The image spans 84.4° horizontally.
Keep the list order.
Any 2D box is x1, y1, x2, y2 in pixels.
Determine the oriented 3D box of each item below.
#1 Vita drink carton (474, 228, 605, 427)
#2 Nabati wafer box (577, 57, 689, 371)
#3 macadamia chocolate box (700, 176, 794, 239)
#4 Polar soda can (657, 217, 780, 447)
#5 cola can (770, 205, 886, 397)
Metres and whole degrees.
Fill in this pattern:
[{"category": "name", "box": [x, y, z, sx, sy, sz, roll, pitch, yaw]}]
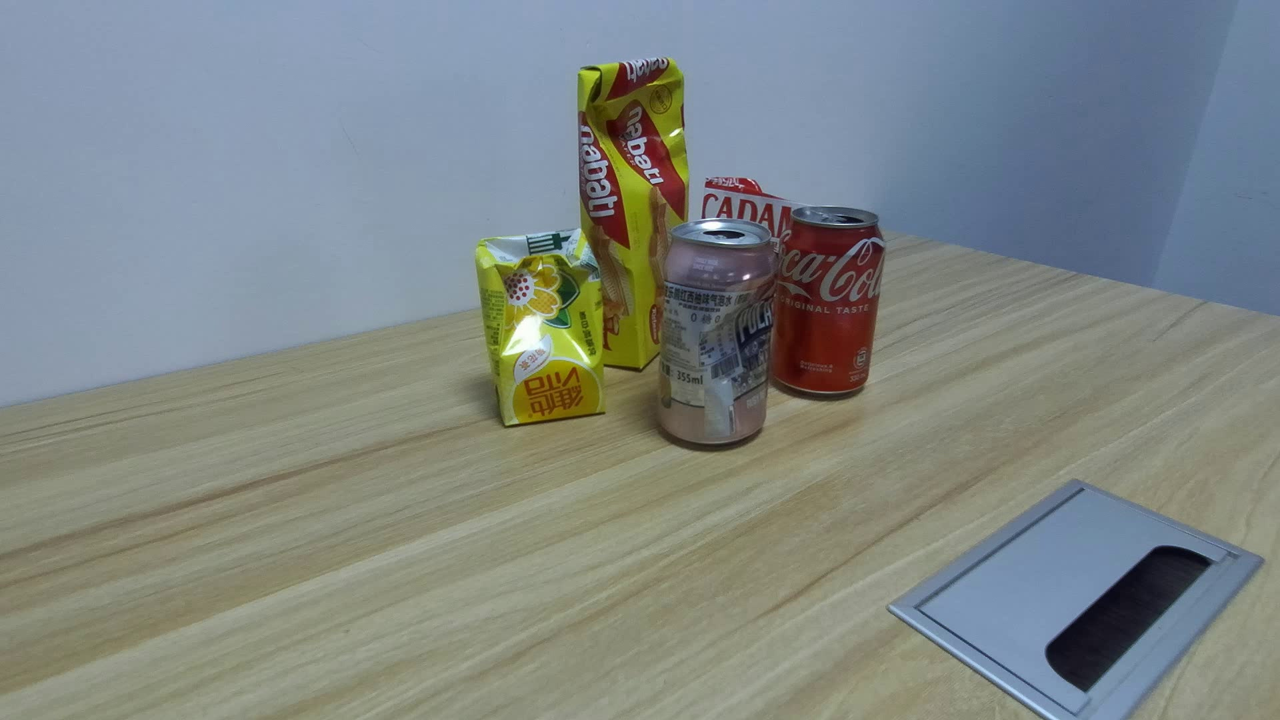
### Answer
[{"category": "Vita drink carton", "box": [-0.059, -0.019, 0.434, 0.071, 0.110, 0.046, -8, 22, -14]}, {"category": "Nabati wafer box", "box": [-0.001, -0.101, 0.502, 0.042, 0.205, 0.113, 8, 26, 24]}, {"category": "macadamia chocolate box", "box": [0.110, -0.088, 0.585, 0.126, 0.112, 0.056, 15, 27, 31]}, {"category": "Polar soda can", "box": [0.046, -0.014, 0.409, 0.074, 0.122, 0.067, -7, 23, -15]}, {"category": "cola can", "box": [0.124, -0.039, 0.467, 0.068, 0.120, 0.068, 0, 24, 0]}]
